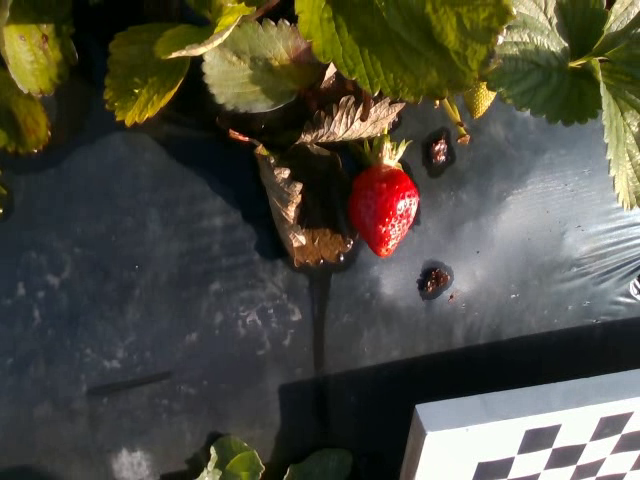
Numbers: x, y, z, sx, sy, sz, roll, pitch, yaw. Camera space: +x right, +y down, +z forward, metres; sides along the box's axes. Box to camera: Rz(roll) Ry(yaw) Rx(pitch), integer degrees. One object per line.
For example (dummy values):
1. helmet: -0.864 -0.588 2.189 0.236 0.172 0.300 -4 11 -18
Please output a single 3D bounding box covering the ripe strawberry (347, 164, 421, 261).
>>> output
1. ripe strawberry: 0.029 -0.005 0.267 0.046 0.054 0.037 11 -13 -25
